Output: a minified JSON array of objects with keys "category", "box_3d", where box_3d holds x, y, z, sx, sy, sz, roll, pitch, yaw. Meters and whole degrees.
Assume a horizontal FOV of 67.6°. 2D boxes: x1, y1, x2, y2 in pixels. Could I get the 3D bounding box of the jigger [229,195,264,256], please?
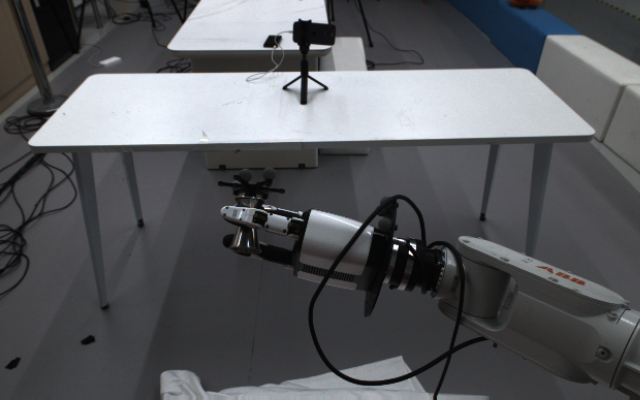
[{"category":"jigger","box_3d":[-0.096,0.032,0.634,0.043,0.043,0.071,3,75,2]}]
